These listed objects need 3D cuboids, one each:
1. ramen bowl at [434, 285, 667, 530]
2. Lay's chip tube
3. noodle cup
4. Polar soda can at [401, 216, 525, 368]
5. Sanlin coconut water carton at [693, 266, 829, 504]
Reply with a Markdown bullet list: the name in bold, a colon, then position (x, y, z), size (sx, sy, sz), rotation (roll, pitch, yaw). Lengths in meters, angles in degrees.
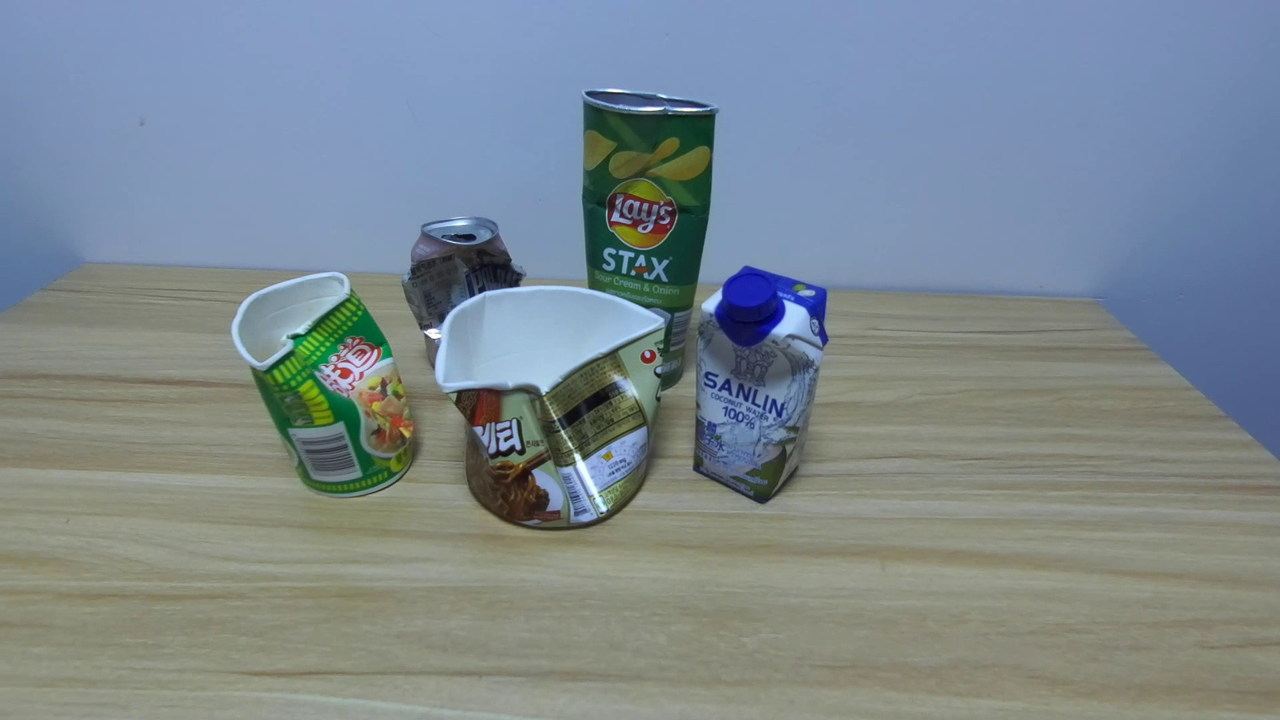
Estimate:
- **ramen bowl**: position (-0.050, 0.022, 0.428), size (0.137, 0.098, 0.137), rotation (2, 32, -1)
- **Lay's chip tube**: position (0.003, -0.077, 0.490), size (0.075, 0.199, 0.068), rotation (-6, 31, -13)
- **noodle cup**: position (-0.177, 0.016, 0.415), size (0.075, 0.122, 0.083), rotation (16, 44, 35)
- **Polar soda can**: position (-0.126, -0.046, 0.521), size (0.070, 0.114, 0.074), rotation (12, 33, 12)
- **Sanlin coconut water carton**: position (0.067, 0.011, 0.412), size (0.077, 0.142, 0.058), rotation (22, 42, 30)
